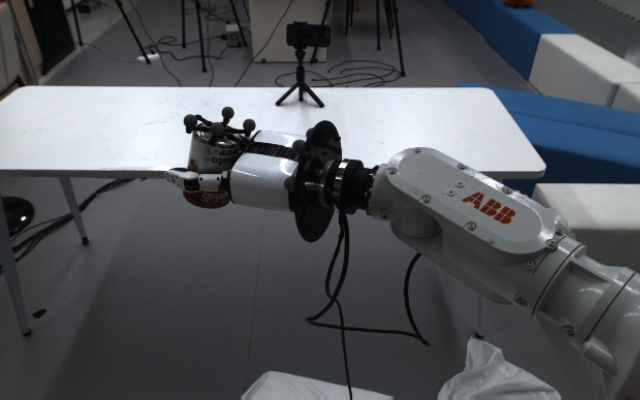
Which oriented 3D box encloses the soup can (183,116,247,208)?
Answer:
[{"bbox_3d":[-0.150,-0.047,0.672,0.067,0.101,0.067,14,31,-8],"label":"soup can"}]
